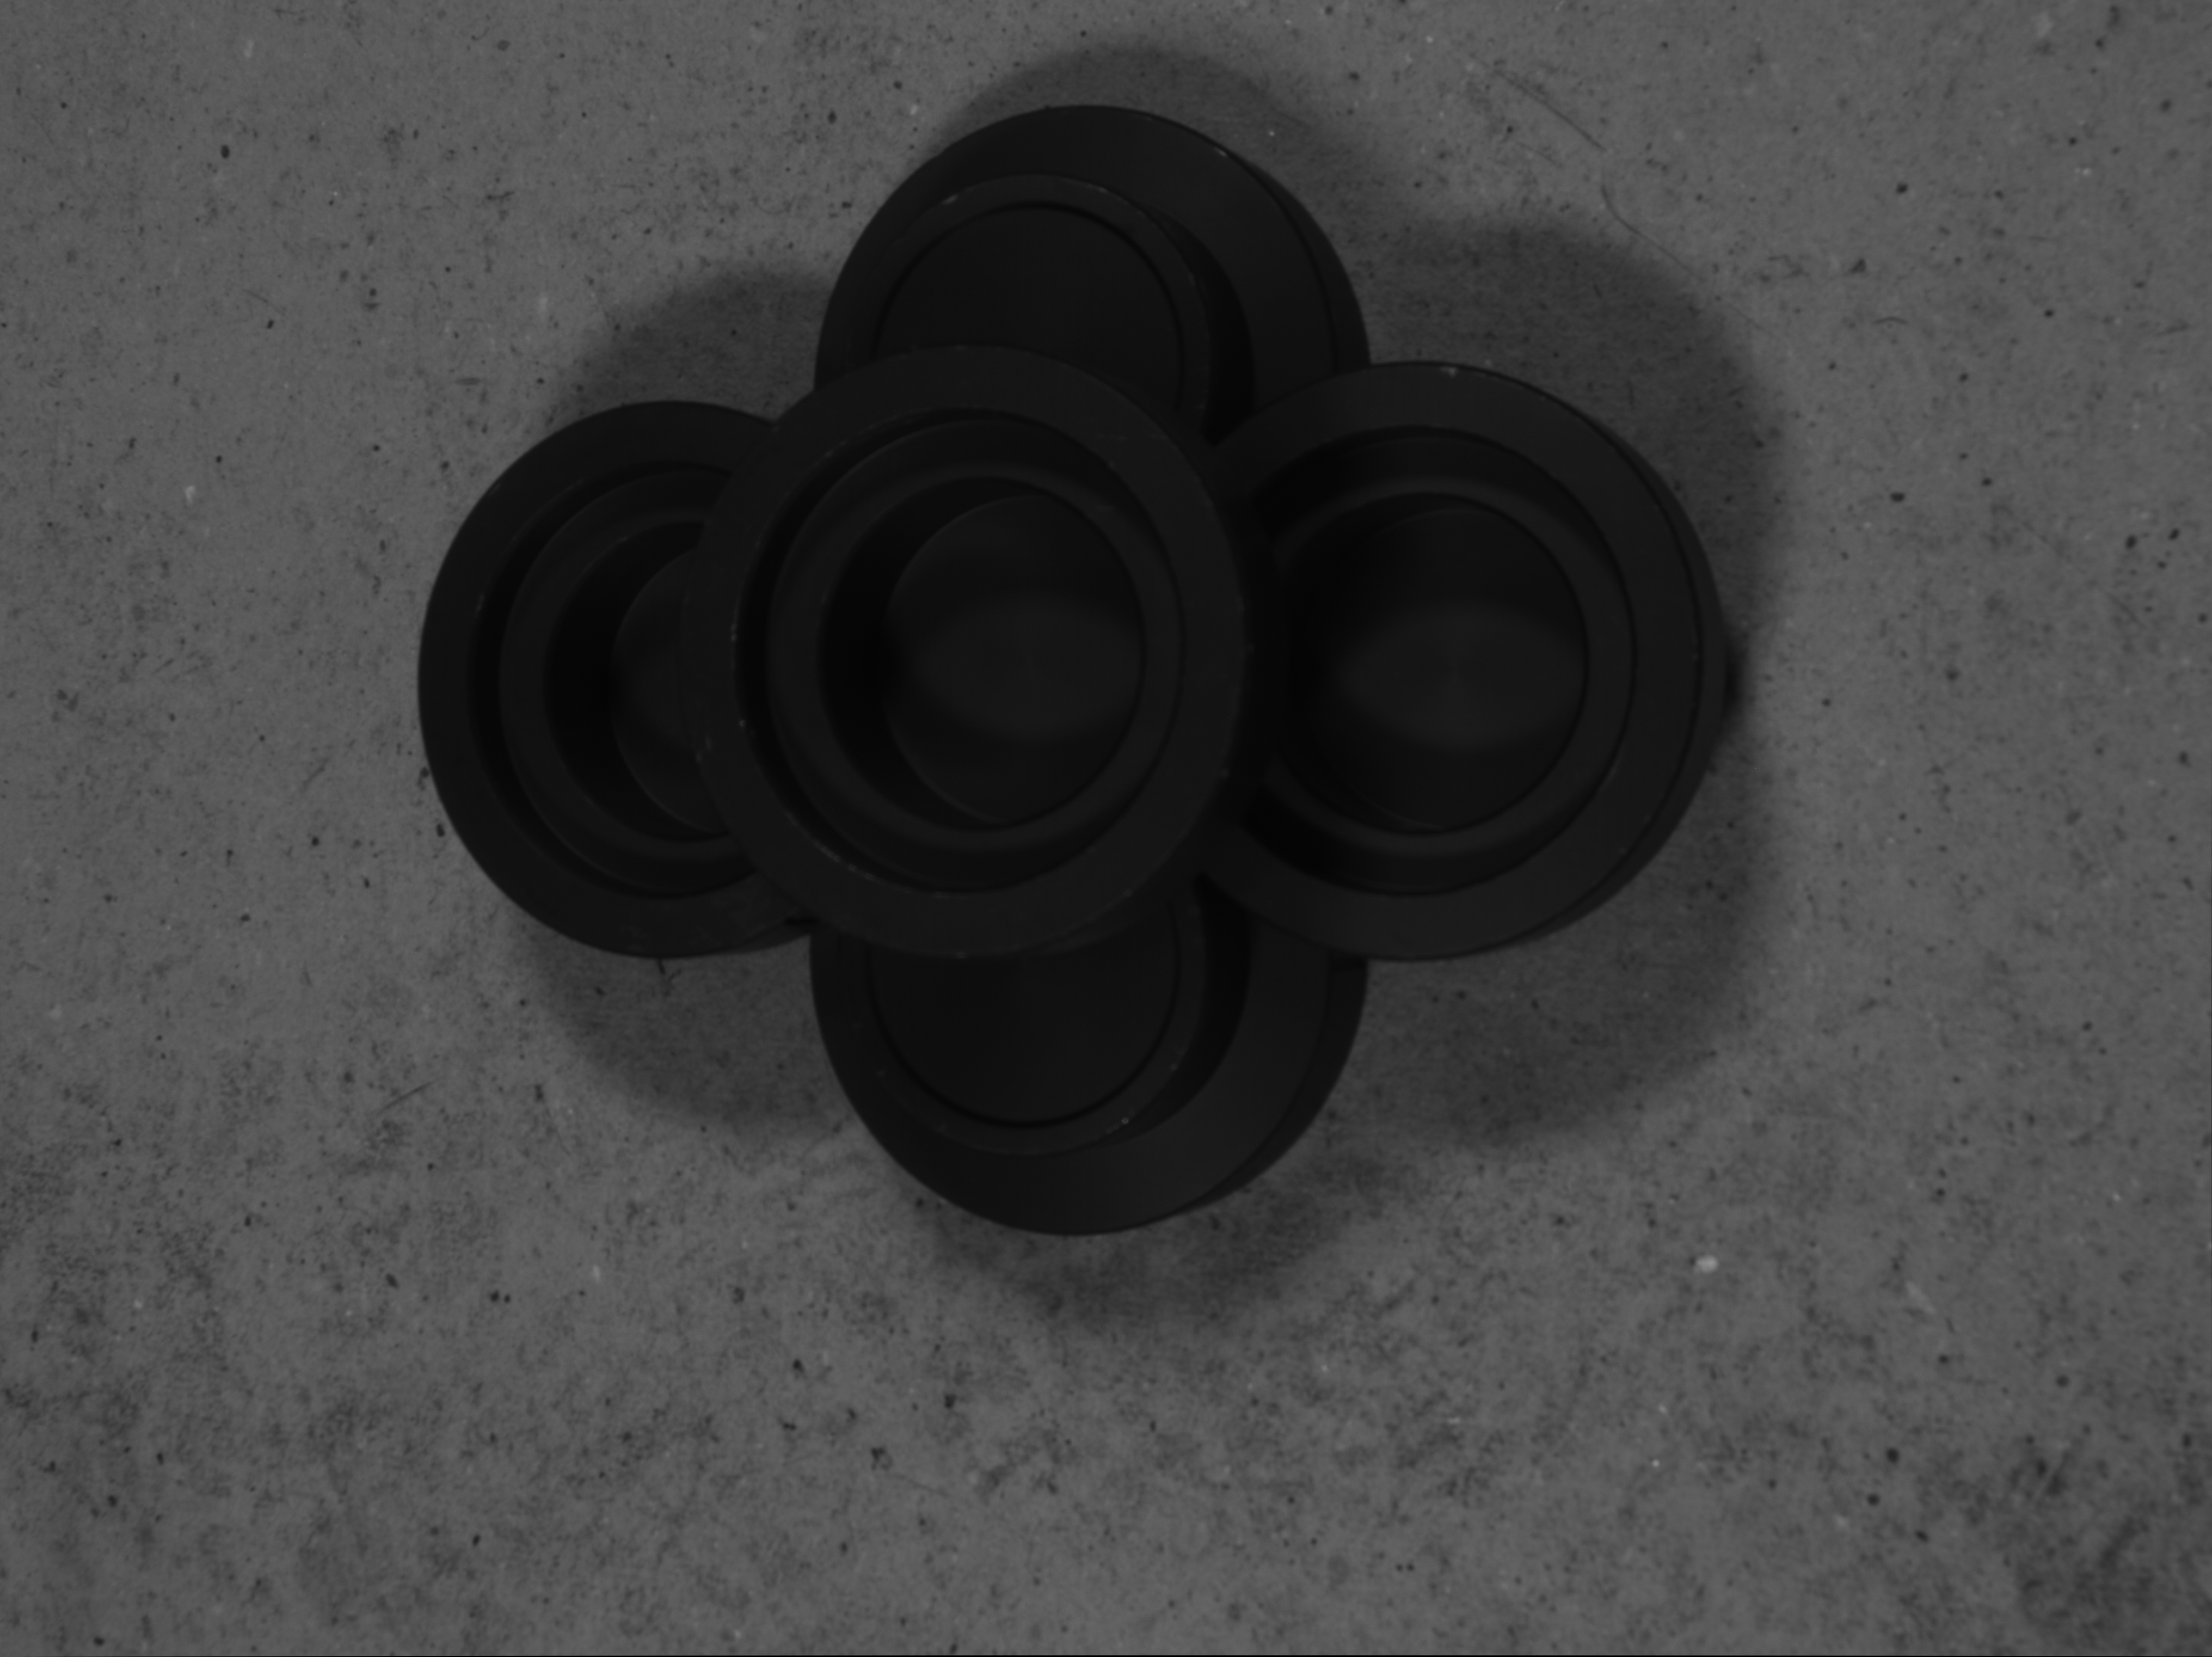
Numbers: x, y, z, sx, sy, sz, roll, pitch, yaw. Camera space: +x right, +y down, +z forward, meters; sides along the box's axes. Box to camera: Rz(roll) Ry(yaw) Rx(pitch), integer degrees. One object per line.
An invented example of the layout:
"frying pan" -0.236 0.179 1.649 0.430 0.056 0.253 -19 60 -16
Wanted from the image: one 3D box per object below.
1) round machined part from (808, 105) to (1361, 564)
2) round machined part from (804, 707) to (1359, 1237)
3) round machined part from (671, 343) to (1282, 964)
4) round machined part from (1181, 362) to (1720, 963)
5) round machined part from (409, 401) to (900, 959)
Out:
"round machined part" -0.008 -0.077 0.638 0.098 0.042 0.098 0 90 20
"round machined part" -0.008 0.022 0.638 0.098 0.042 0.098 0 90 20
"round machined part" -0.018 -0.028 0.597 0.098 0.042 0.098 0 90 20
"round machined part" 0.055 -0.027 0.616 0.098 0.042 0.098 0 90 20
"round machined part" -0.073 -0.026 0.661 0.098 0.042 0.098 0 90 20
